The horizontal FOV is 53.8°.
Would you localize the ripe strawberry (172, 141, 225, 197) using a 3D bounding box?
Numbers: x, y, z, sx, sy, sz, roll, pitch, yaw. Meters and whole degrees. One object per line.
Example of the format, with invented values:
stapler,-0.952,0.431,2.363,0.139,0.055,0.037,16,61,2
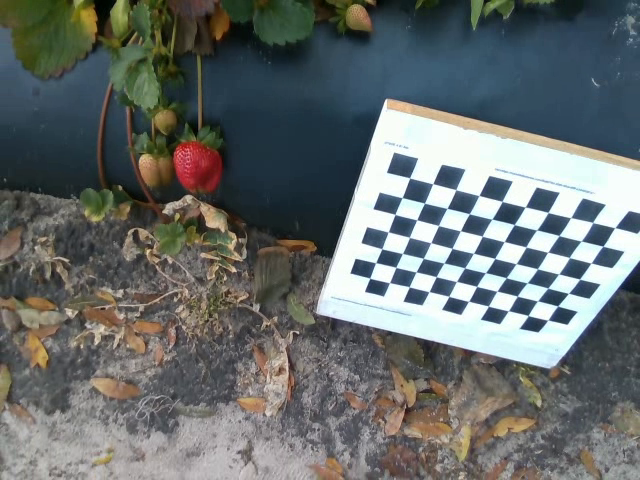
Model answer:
ripe strawberry,-0.138,-0.074,0.672,0.066,0.075,0.053,-1,41,8
